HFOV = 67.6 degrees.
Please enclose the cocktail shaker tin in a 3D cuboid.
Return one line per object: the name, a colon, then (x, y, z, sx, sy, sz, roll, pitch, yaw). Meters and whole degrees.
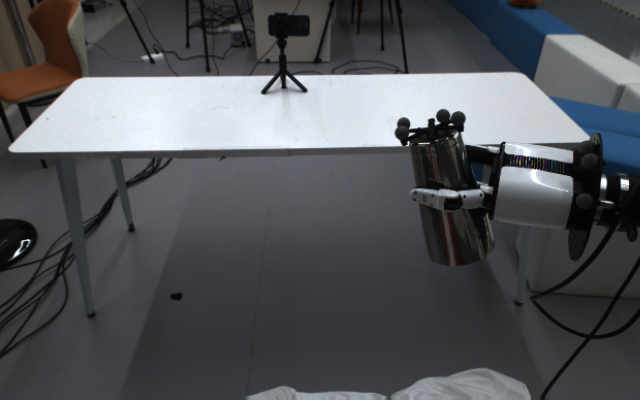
cocktail shaker tin: (0.172, -0.009, 0.649, 0.093, 0.170, 0.093, -17, 20, 7)
